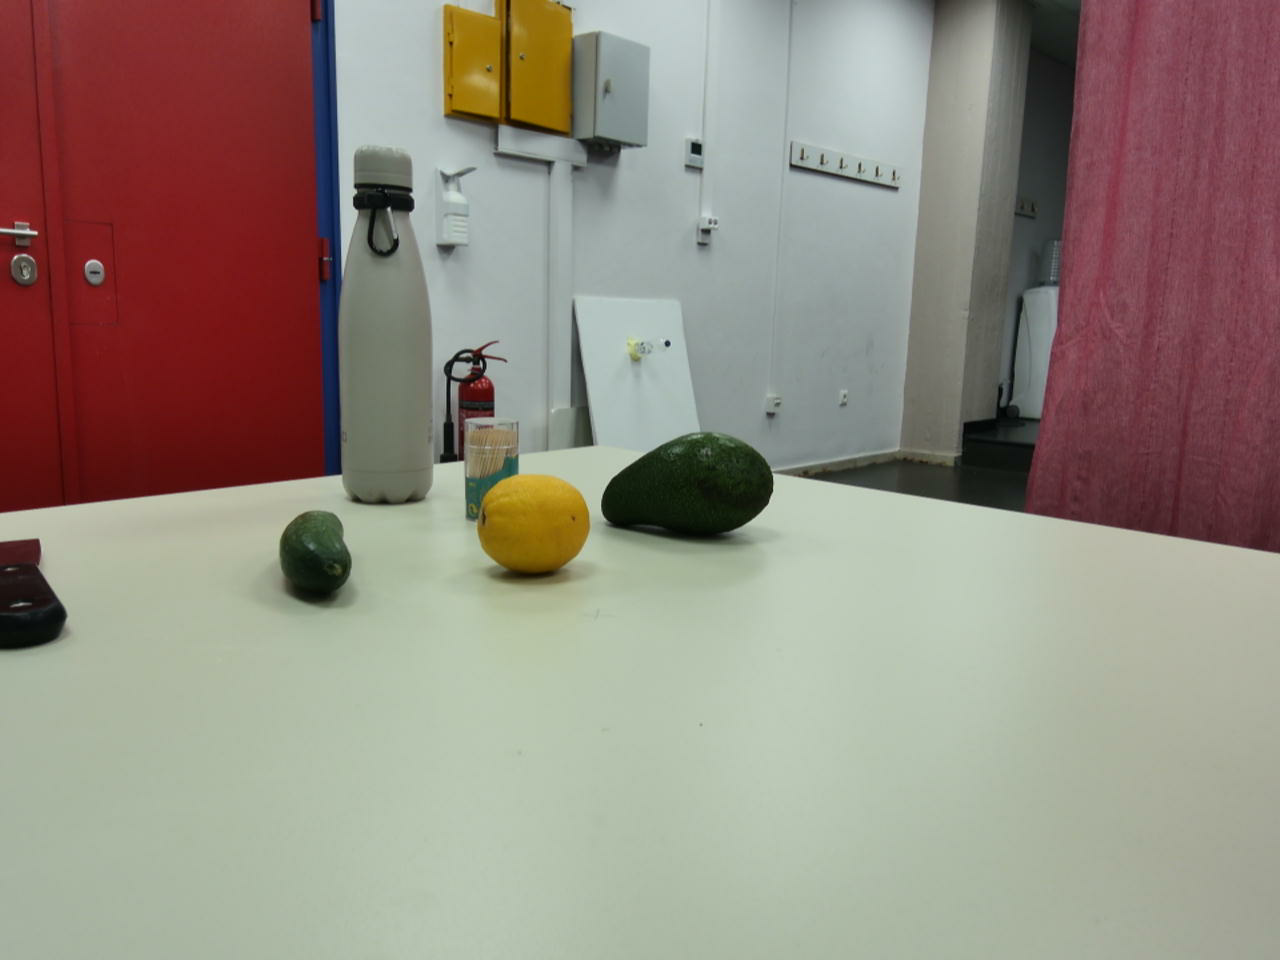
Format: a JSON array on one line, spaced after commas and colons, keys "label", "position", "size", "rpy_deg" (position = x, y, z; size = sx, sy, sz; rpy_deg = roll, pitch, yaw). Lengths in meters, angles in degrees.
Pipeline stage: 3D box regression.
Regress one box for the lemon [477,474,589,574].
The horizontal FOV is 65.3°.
[{"label": "lemon", "position": [-0.064, 0.026, 0.601], "size": [0.067, 0.059, 0.061], "rpy_deg": [0, 8, -5]}]
